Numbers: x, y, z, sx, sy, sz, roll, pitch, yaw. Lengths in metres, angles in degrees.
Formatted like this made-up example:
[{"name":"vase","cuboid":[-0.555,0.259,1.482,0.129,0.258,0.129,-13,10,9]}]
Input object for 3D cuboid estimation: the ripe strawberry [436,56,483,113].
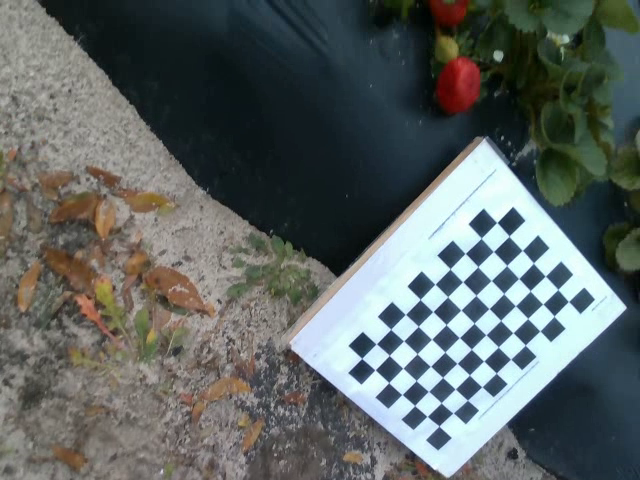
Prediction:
[{"name":"ripe strawberry","cuboid":[0.152,-0.145,0.706,0.057,0.056,0.065,9,20,2]}]
